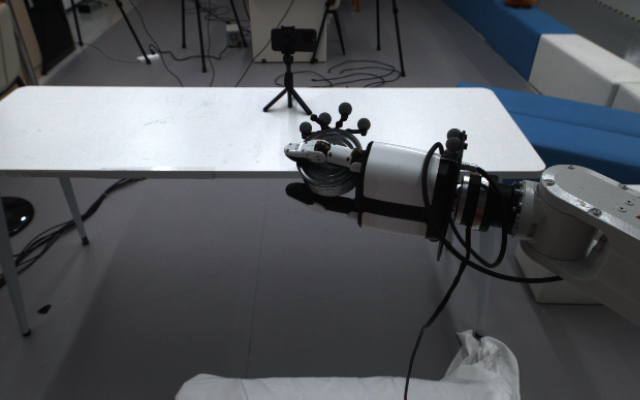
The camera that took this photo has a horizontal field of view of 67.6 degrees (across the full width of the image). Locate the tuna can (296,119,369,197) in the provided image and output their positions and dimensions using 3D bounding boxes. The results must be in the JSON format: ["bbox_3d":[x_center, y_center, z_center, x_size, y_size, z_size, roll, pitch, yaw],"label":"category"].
[{"bbox_3d":[0.014,-0.048,0.625,0.085,0.034,0.085,-6,61,10],"label":"tuna can"}]
